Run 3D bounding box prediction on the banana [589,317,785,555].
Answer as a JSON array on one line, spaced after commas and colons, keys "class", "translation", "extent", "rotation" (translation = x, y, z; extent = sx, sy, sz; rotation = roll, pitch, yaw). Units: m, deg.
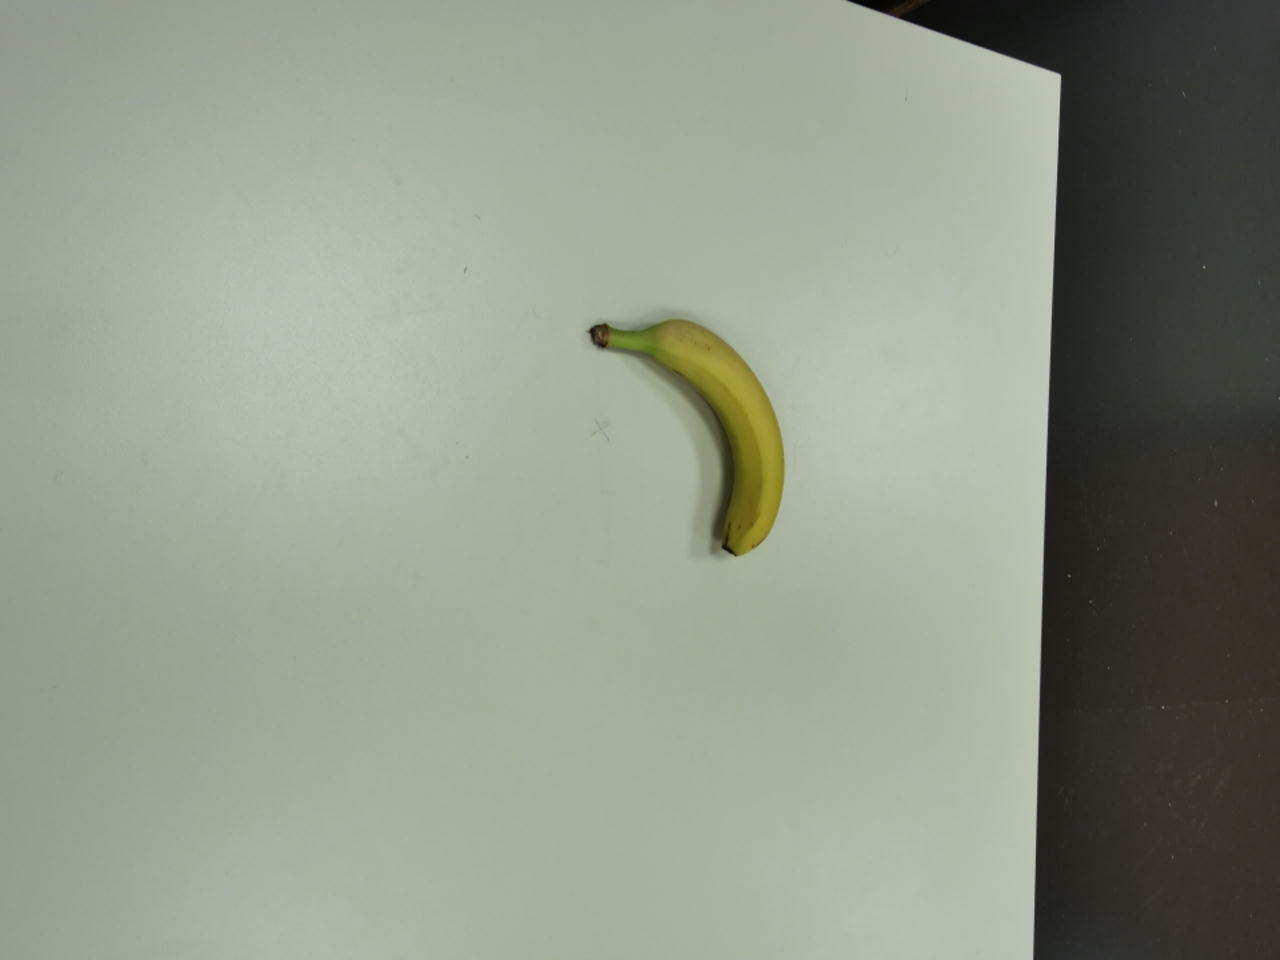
[{"class": "banana", "translation": [0.053, -0.047, 0.728], "extent": [0.094, 0.041, 0.196], "rotation": [-36, 106, -23]}]
